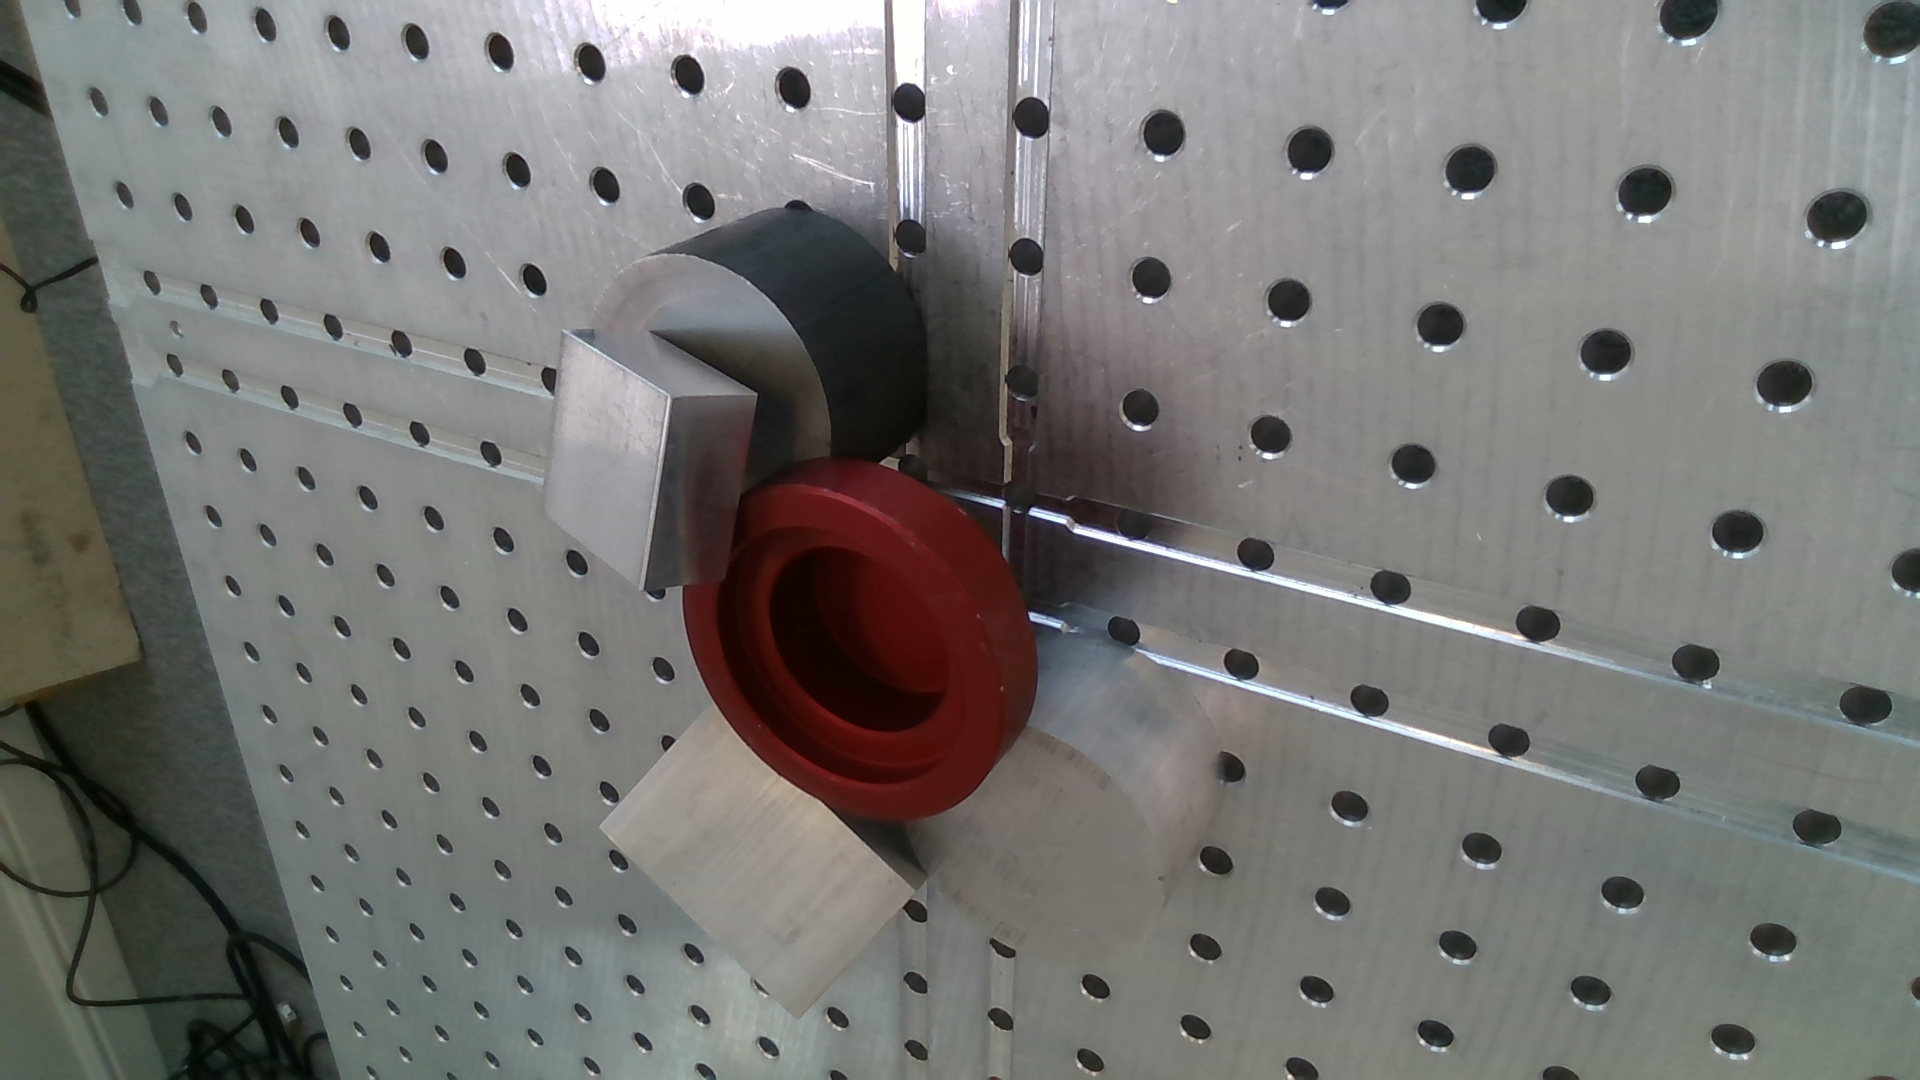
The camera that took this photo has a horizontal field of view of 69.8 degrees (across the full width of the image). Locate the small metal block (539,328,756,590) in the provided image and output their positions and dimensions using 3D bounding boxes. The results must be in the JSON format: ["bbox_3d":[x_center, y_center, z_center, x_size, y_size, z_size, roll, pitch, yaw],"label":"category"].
[{"bbox_3d":[-0.080,-0.022,0.348,0.050,0.025,0.050,31,117,38],"label":"small metal block"}]

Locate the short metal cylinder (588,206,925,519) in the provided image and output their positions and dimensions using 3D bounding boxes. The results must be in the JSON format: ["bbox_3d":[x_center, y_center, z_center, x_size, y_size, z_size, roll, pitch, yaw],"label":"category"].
[{"bbox_3d":[-0.057,-0.047,0.384,0.080,0.050,0.080,15,122,25],"label":"short metal cylinder"}]

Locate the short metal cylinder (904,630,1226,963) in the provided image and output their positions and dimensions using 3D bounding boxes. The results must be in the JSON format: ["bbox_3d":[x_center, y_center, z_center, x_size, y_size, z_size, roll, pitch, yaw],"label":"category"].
[{"bbox_3d":[0.030,0.073,0.397,0.080,0.050,0.080,15,122,25],"label":"short metal cylinder"}]

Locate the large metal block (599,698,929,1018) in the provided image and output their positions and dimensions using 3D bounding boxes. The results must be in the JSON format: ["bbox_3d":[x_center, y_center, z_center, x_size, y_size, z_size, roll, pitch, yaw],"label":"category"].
[{"bbox_3d":[-0.053,0.089,0.429,0.080,0.080,0.050,43,95,5],"label":"large metal block"}]

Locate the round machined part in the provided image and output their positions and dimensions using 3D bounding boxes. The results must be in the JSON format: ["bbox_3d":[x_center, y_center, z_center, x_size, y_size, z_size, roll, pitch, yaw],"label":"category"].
[{"bbox_3d":[-0.023,0.022,0.369,0.098,0.042,0.098,15,122,25],"label":"round machined part"}]
